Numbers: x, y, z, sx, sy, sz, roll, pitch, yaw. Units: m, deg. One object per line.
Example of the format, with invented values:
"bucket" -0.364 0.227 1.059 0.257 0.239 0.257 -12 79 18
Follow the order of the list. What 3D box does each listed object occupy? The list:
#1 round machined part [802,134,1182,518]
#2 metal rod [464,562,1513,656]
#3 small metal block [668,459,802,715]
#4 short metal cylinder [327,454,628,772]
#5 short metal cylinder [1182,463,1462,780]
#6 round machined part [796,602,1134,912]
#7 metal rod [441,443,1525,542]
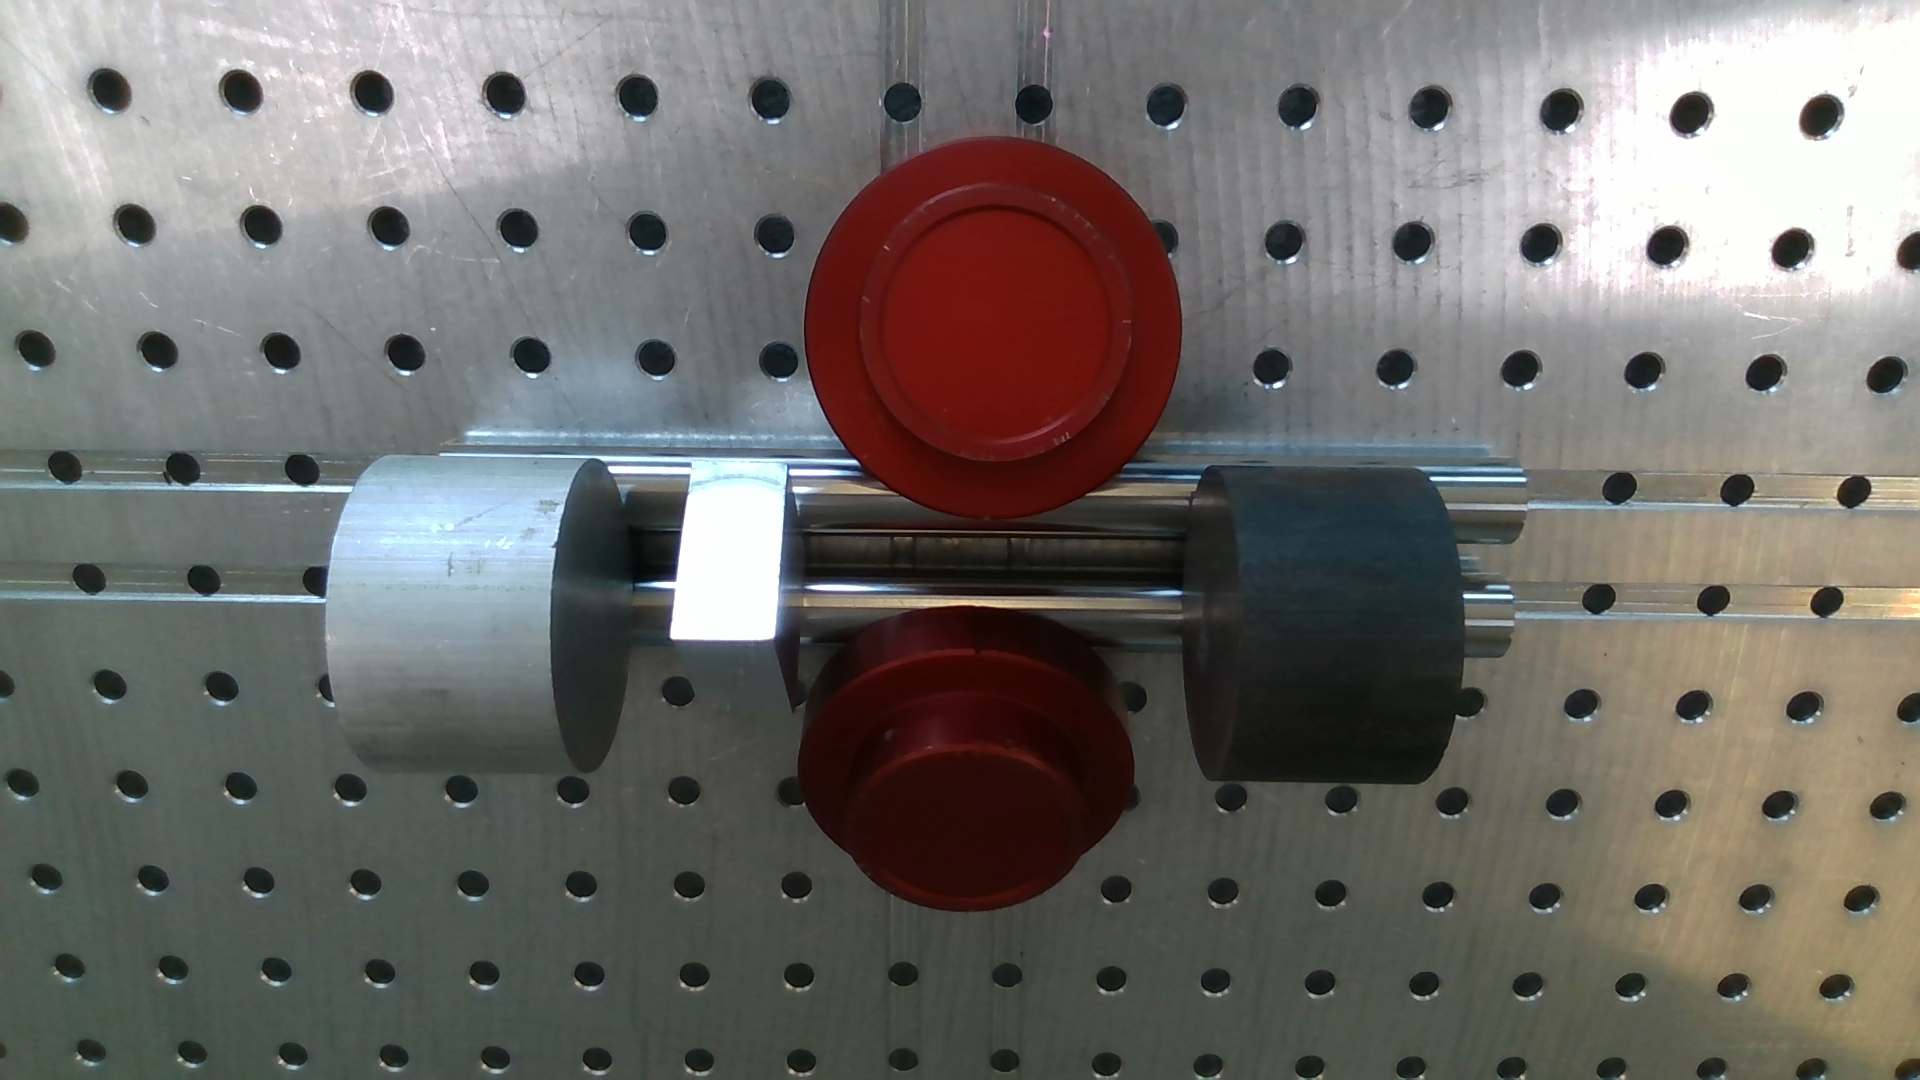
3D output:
"round machined part" 0.008 -0.054 0.354 0.098 0.042 0.098 0 96 0
"metal rod" 0.007 0.020 0.402 0.300 0.025 0.025 1 110 0
"small metal block" -0.057 0.013 0.363 0.025 0.050 0.050 1 152 -1
"short metal cylinder" -0.118 0.018 0.351 0.050 0.080 0.080 1 110 0
"short metal cylinder" 0.088 0.021 0.351 0.050 0.080 0.080 1 110 0
"round machined part" 0.001 0.069 0.398 0.098 0.042 0.098 0 125 0
"metal rod" 0.005 -0.013 0.390 0.300 0.025 0.025 1 110 0
